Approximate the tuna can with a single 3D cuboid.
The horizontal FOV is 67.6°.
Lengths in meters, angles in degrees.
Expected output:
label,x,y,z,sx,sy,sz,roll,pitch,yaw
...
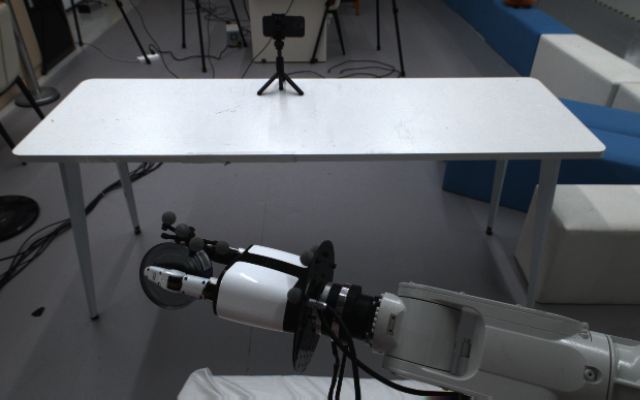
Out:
label,x,y,z,sx,sy,sz,roll,pitch,yaw
tuna can,-0.180,0.094,0.614,0.085,0.085,0.034,10,4,11
